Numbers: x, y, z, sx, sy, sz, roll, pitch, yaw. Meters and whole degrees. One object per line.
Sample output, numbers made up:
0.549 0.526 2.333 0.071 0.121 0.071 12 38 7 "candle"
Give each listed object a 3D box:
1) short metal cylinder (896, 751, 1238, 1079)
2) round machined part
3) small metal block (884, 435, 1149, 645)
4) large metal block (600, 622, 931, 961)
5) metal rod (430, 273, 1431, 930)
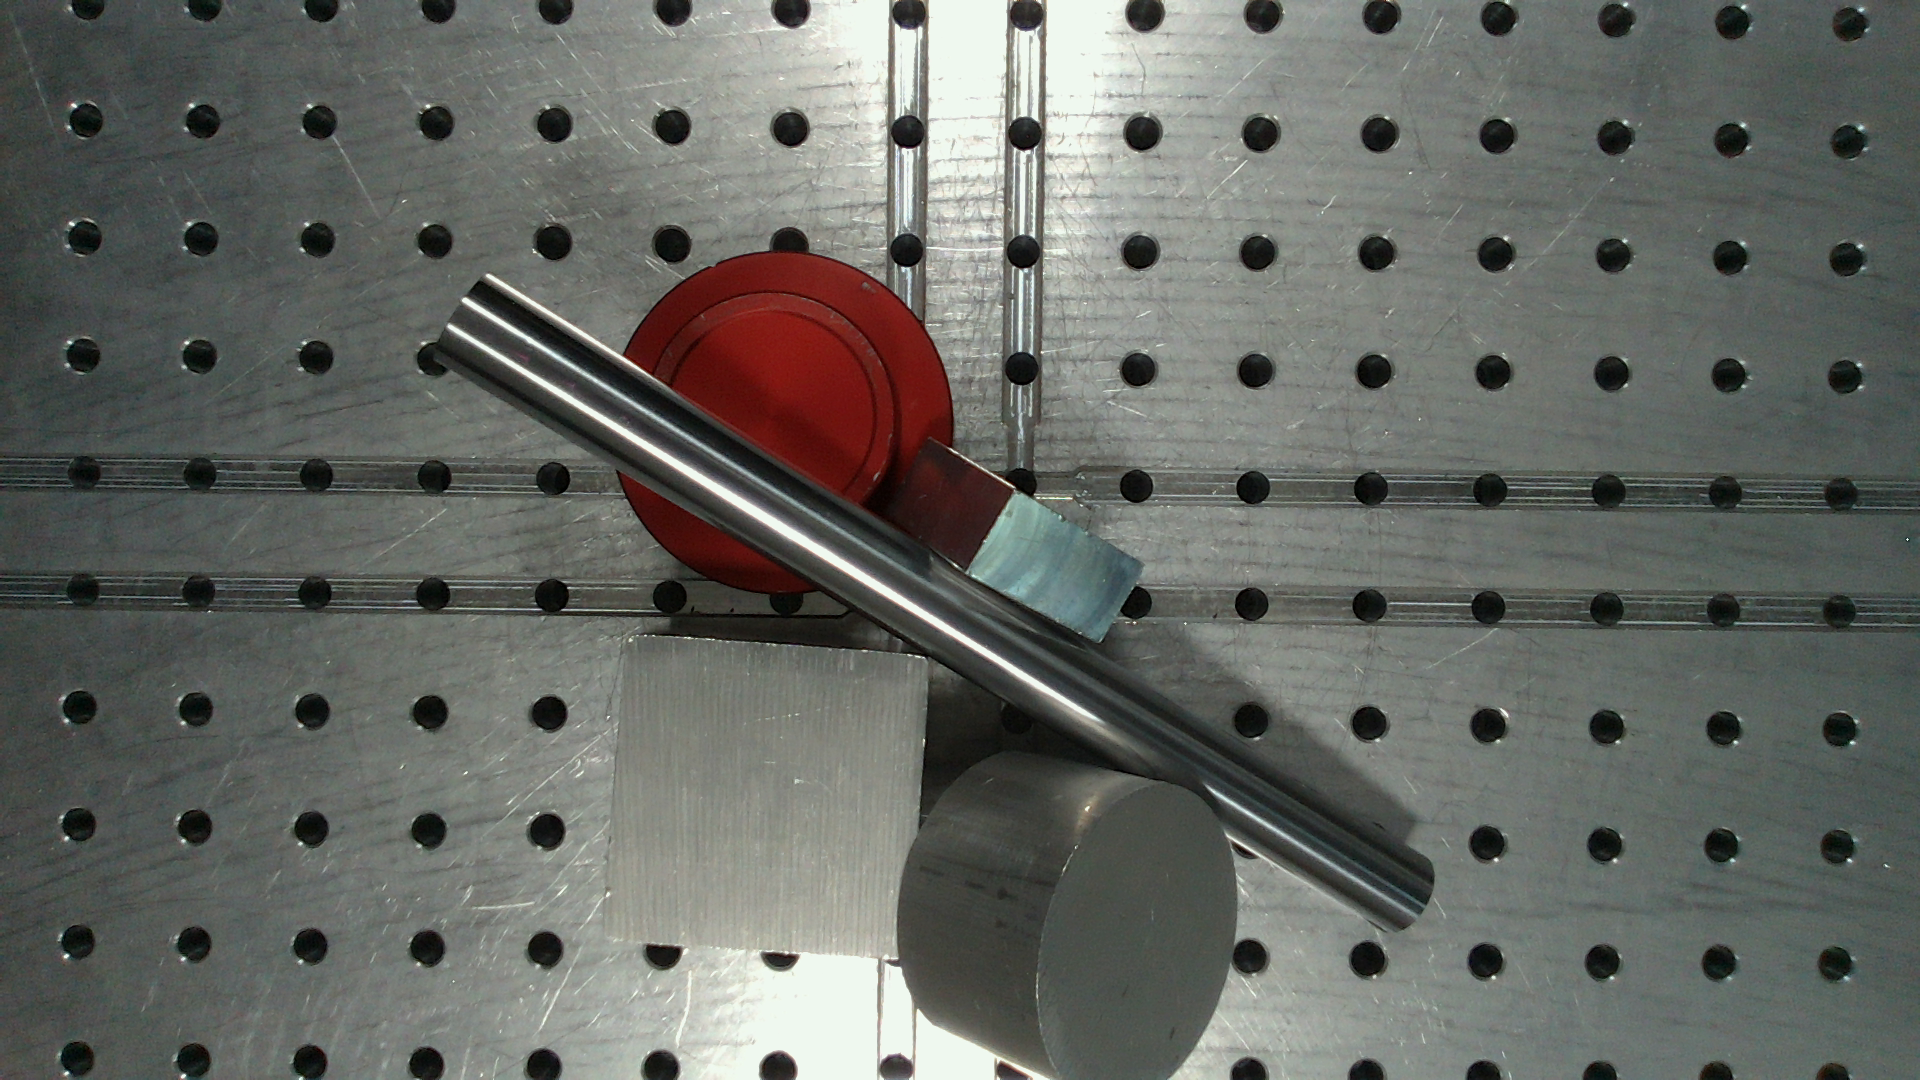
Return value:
0.030 0.100 0.364 0.080 0.050 0.080 -5 97 -44 "short metal cylinder"
-0.051 -0.033 0.389 0.098 0.042 0.098 0 90 0 "round machined part"
0.015 0.000 0.376 0.050 0.050 0.025 28 94 -34 "small metal block"
-0.051 0.067 0.383 0.080 0.050 0.080 5 90 0 "large metal block"
0.003 0.024 0.365 0.300 0.025 0.025 32 90 -13 "metal rod"
